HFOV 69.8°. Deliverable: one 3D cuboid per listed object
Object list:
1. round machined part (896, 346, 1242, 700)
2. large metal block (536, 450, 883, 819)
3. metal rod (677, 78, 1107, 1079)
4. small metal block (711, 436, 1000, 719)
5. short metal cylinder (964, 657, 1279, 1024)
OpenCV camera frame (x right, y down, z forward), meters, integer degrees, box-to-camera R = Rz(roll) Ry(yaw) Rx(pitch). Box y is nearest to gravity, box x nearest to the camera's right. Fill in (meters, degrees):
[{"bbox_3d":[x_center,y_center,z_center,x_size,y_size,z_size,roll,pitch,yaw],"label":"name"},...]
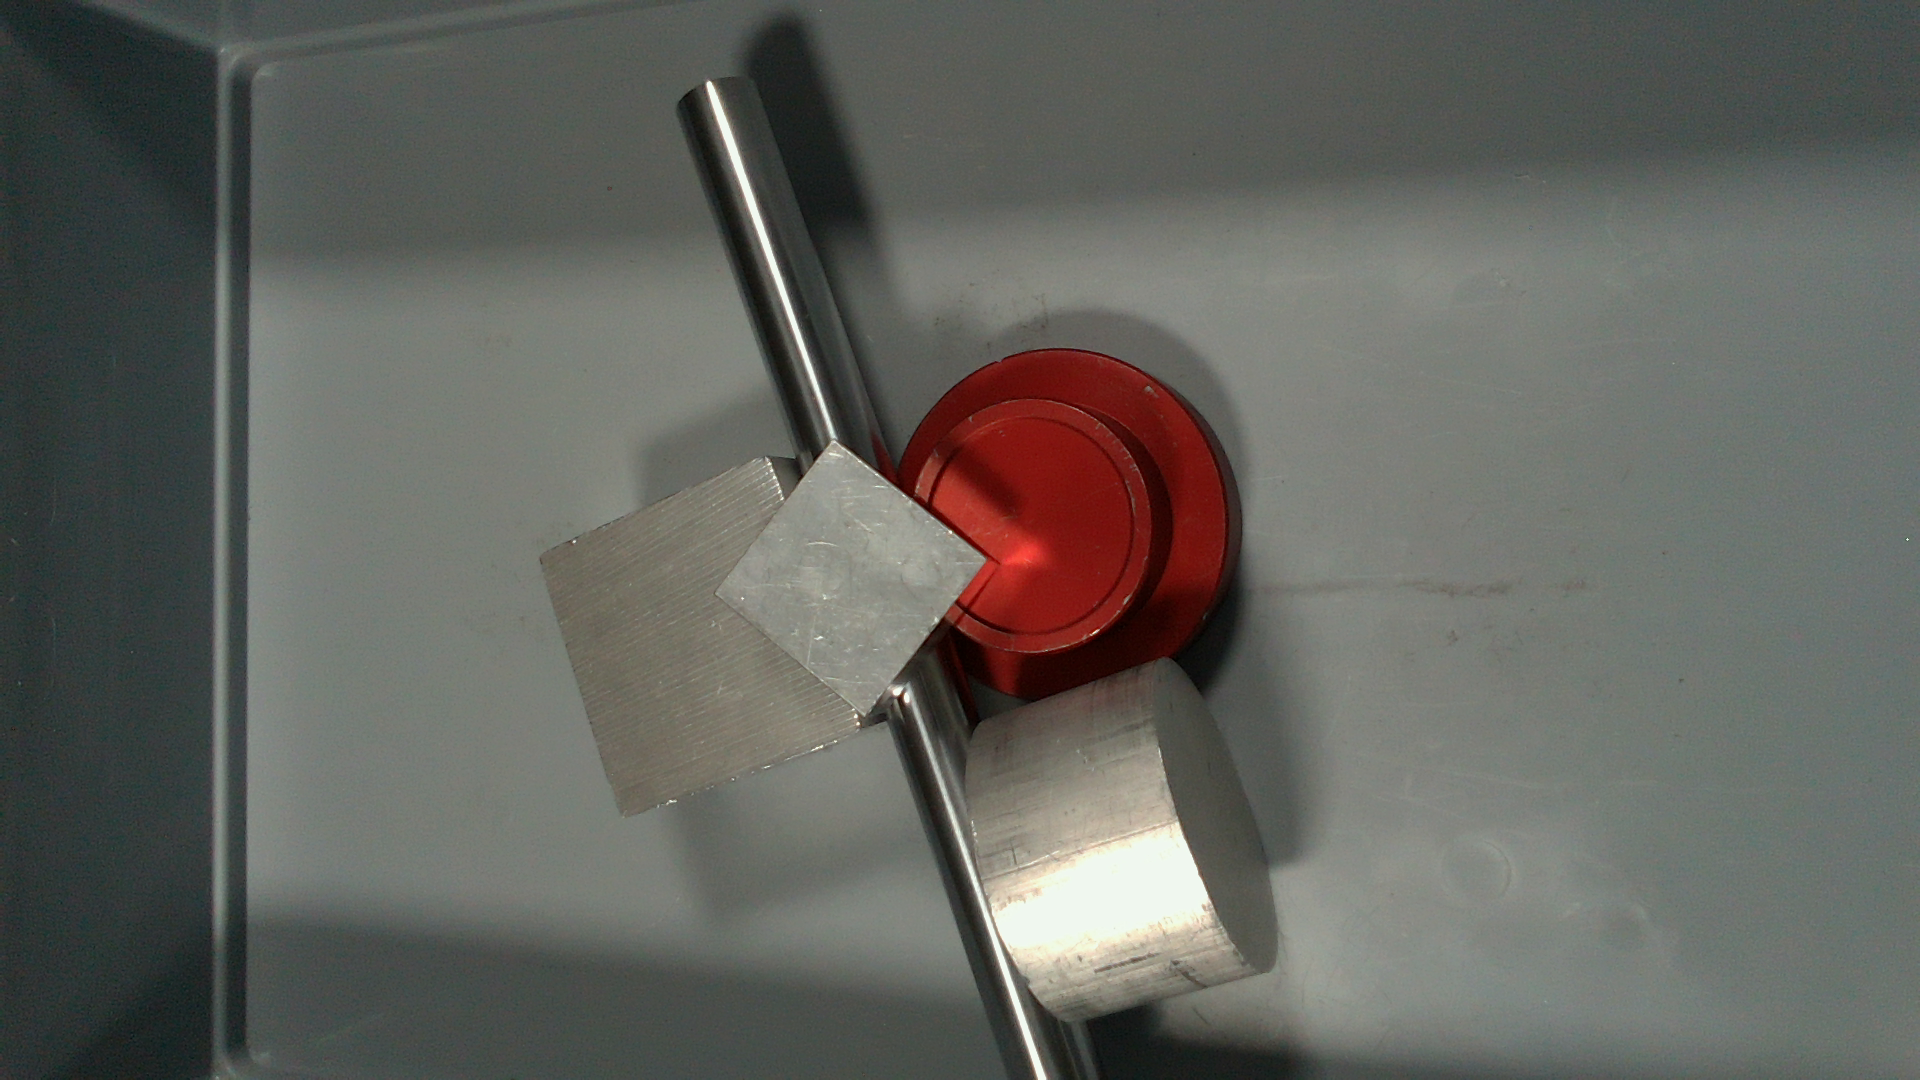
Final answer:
[{"bbox_3d":[0.025,-0.004,0.376,0.098,0.042,0.098,0,90,20],"label":"round machined part"},{"bbox_3d":[-0.065,0.027,0.403,0.080,0.050,0.080,-22,83,19],"label":"large metal block"},{"bbox_3d":[-0.020,0.014,0.380,0.025,0.025,0.300,-22,83,19],"label":"metal rod"},{"bbox_3d":[-0.026,0.010,0.353,0.050,0.025,0.050,38,91,9],"label":"small metal block"},{"bbox_3d":[0.042,0.076,0.350,0.050,0.080,0.080,-22,83,19],"label":"short metal cylinder"}]
